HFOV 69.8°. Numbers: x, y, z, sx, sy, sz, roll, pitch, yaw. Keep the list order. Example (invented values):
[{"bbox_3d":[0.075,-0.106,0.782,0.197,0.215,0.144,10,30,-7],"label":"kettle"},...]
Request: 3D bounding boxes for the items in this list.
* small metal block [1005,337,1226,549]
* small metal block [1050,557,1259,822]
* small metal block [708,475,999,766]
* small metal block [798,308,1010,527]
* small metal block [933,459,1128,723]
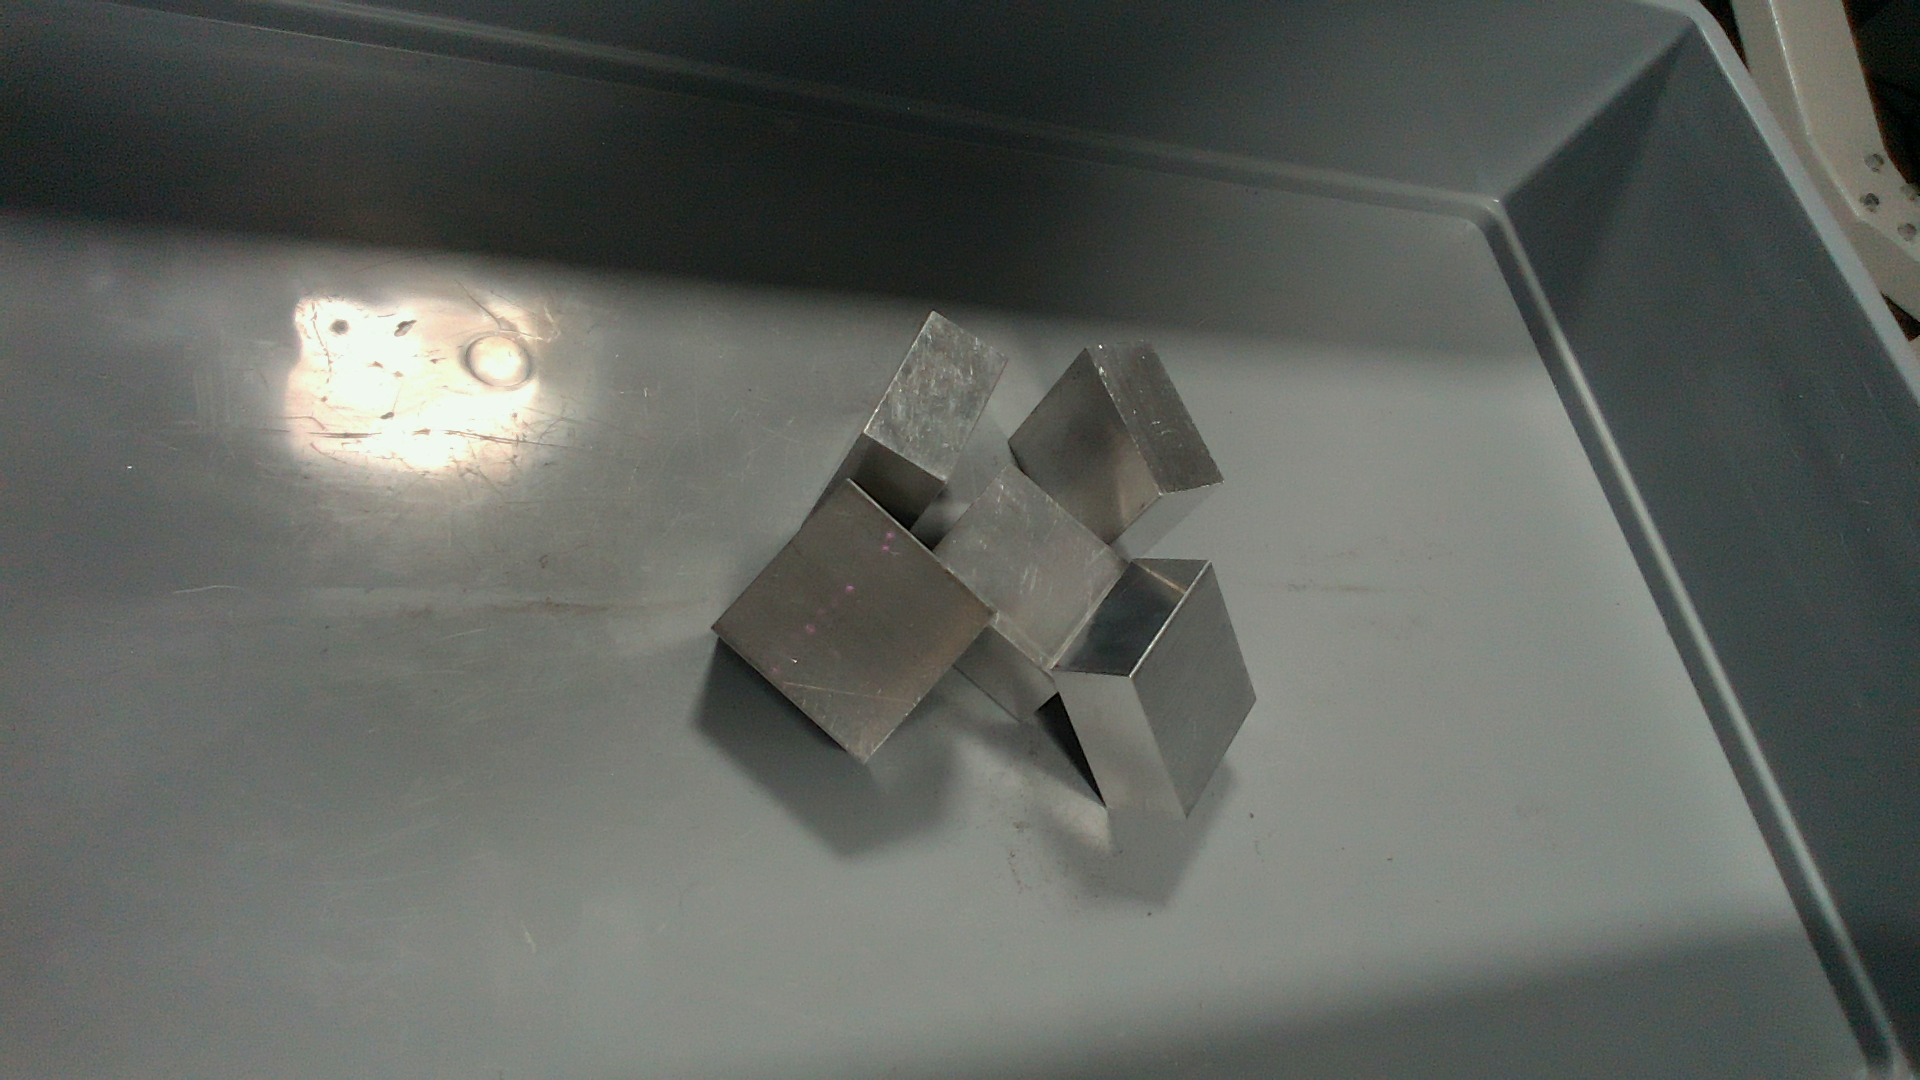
[{"bbox_3d":[0.045,-0.024,0.410,0.025,0.050,0.050,-11,67,-34],"label":"small metal block"},{"bbox_3d":[0.055,0.040,0.376,0.050,0.025,0.050,-48,126,-39],"label":"small metal block"},{"bbox_3d":[-0.026,0.020,0.347,0.050,0.025,0.050,42,84,0],"label":"small metal block"},{"bbox_3d":[-0.016,-0.027,0.379,0.025,0.050,0.050,32,51,-7],"label":"small metal block"},{"bbox_3d":[0.015,0.014,0.387,0.050,0.025,0.050,41,51,0],"label":"small metal block"}]
